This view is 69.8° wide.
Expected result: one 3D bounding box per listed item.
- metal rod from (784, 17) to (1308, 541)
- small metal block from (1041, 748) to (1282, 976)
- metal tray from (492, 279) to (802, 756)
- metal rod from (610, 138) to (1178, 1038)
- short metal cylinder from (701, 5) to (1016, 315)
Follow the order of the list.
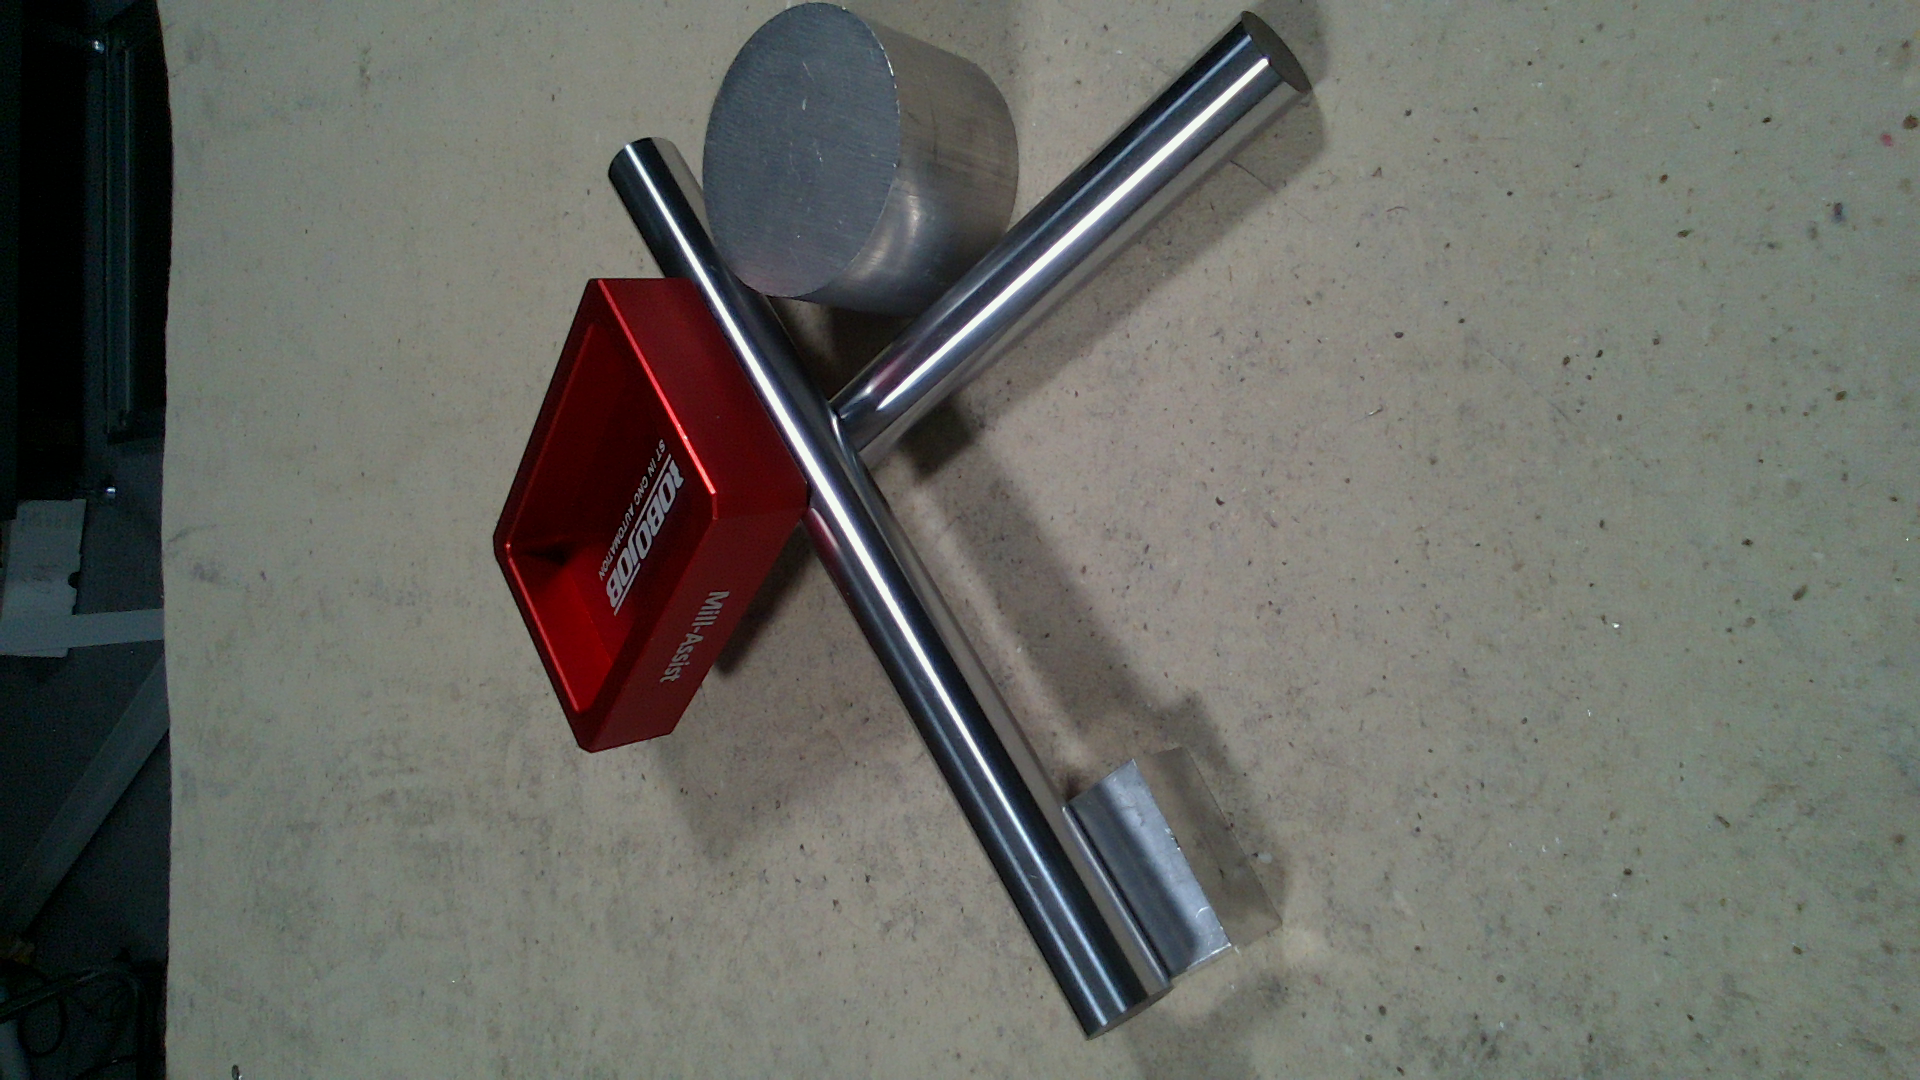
[{"bbox_3d":[-0.023,-0.041,0.415,0.299,0.025,0.025,-37,67,34],"label":"metal rod"},{"bbox_3d":[0.046,0.089,0.356,0.050,0.025,0.050,-41,65,32],"label":"small metal block"},{"bbox_3d":[-0.103,-0.005,0.427,0.090,0.030,0.130,58,135,24],"label":"metal tray"},{"bbox_3d":[-0.030,-0.004,0.388,0.025,0.025,0.300,-46,62,30],"label":"metal rod"},{"bbox_3d":[-0.031,-0.108,0.403,0.080,0.050,0.080,0,90,40],"label":"short metal cylinder"}]
